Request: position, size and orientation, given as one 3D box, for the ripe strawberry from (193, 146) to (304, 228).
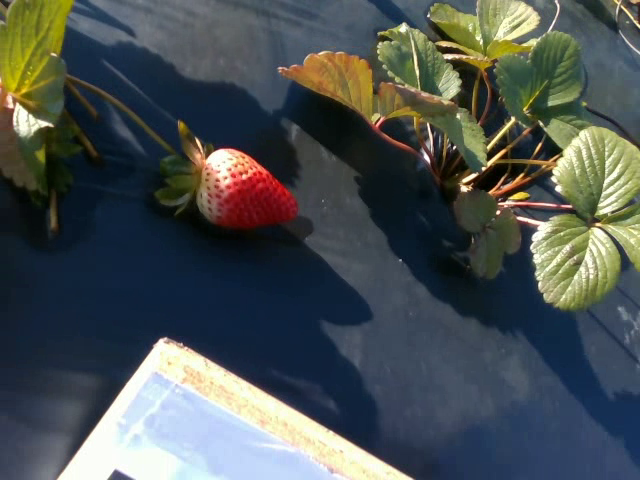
[{"bbox_3d":[-0.032,-0.023,0.287,0.063,0.045,0.044,18,20,-10],"label":"ripe strawberry"}]
